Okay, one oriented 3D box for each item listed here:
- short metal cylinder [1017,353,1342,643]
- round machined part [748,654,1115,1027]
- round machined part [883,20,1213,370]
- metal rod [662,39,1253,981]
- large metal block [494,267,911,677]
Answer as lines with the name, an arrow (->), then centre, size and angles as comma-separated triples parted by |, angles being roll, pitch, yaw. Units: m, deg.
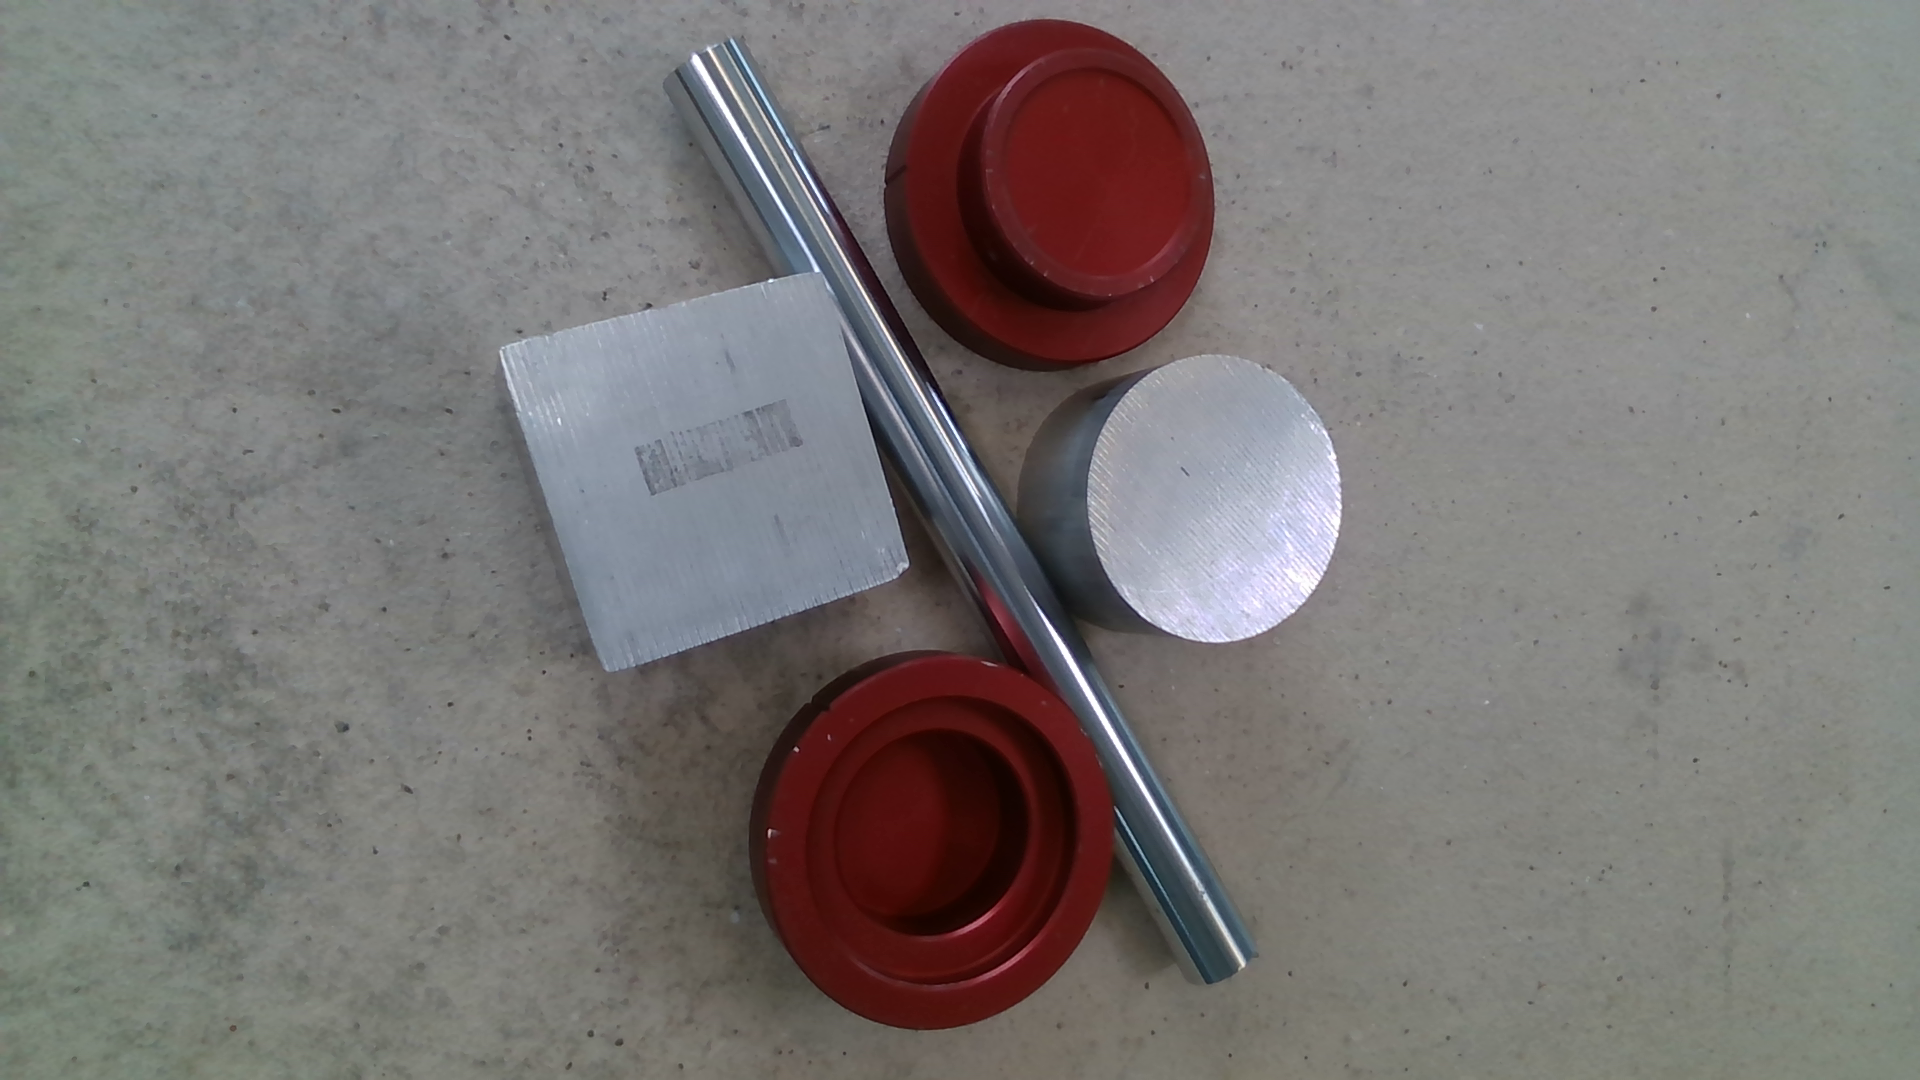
short metal cylinder -> 0.063, -0.011, 0.404 | 0.080, 0.050, 0.080 | 0, 90, -20
round machined part -> -0.010, 0.079, 0.381 | 0.098, 0.042, 0.098 | 0, 90, -20
round machined part -> 0.030, -0.100, 0.396 | 0.098, 0.042, 0.098 | 0, 90, -20
metal rod -> 0.005, 0.000, 0.397 | 0.025, 0.025, 0.300 | -33, 101, -17
large metal block -> -0.068, -0.018, 0.357 | 0.080, 0.050, 0.080 | -18, 96, -19
